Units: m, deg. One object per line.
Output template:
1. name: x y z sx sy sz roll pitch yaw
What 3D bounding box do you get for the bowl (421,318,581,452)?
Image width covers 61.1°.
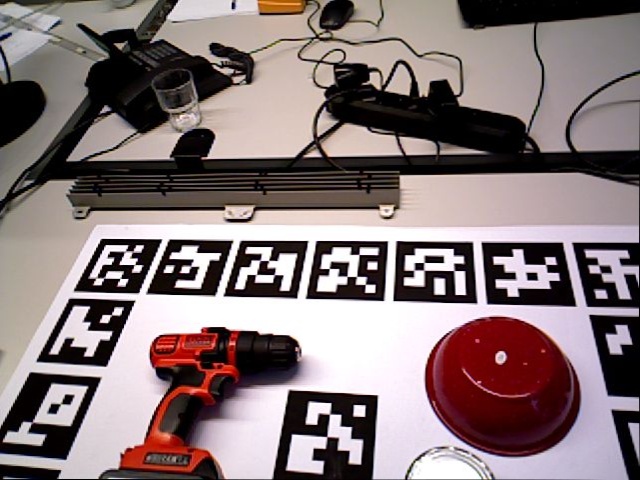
1. bowl: 0.187 0.133 0.566 0.161 0.056 0.159 -8 40 6

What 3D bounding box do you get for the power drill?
1. power drill: -0.128 0.183 0.572 0.184 0.058 0.183 2 46 7

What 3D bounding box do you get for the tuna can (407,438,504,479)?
1. tuna can: 0.122 0.228 0.493 0.085 0.034 0.084 -4 48 4
